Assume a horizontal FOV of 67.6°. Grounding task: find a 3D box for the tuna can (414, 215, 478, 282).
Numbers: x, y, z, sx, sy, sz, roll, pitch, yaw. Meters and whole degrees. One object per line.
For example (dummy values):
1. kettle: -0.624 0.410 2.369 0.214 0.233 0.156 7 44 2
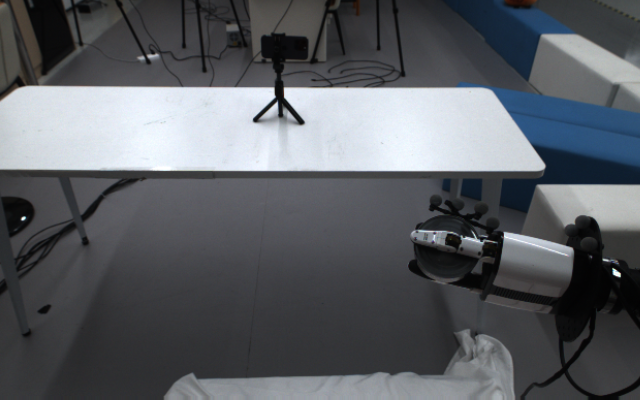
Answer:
1. tuna can: 0.169 0.062 0.641 0.085 0.034 0.085 -4 65 10
